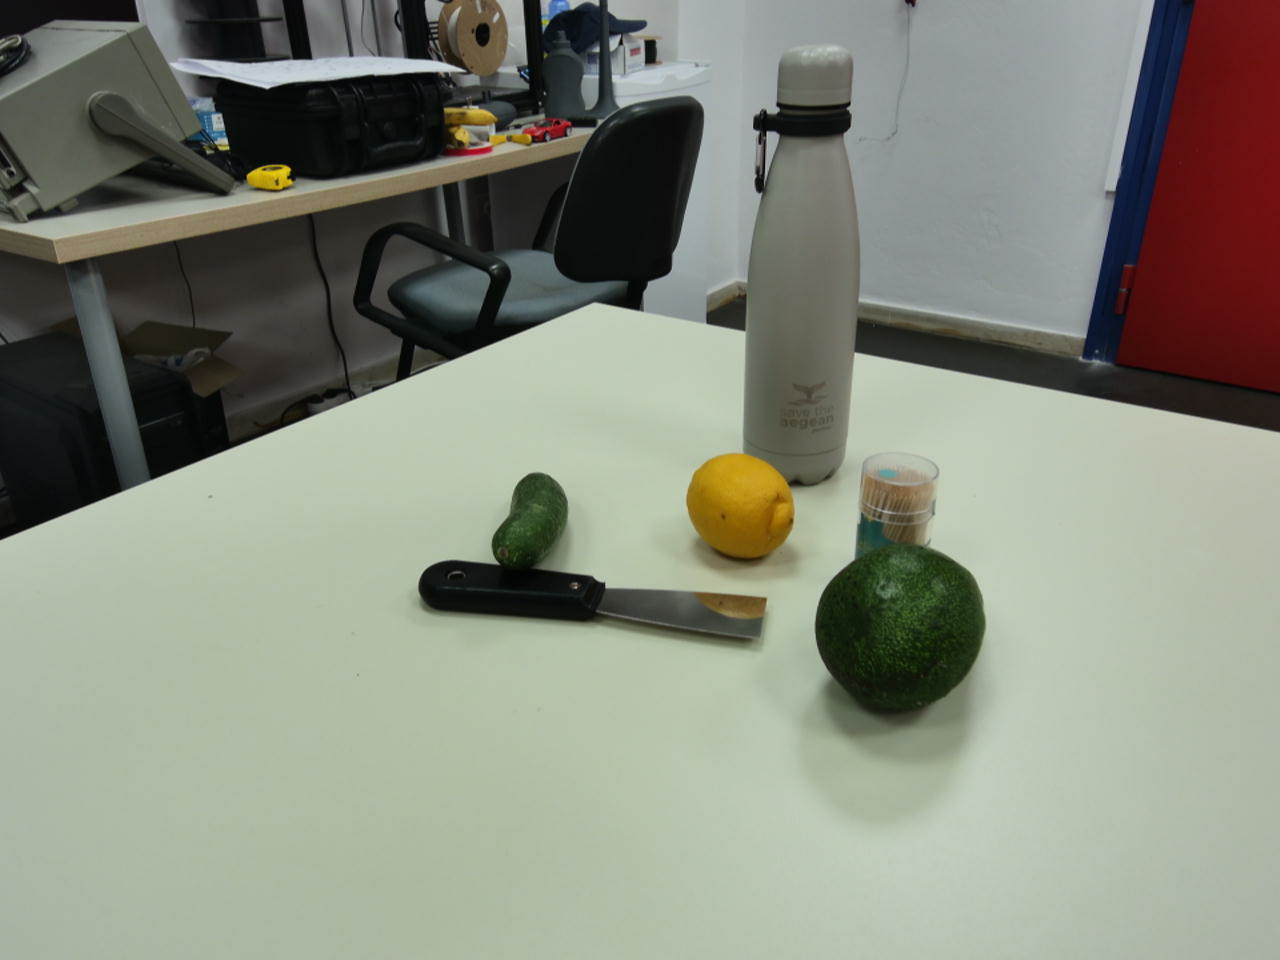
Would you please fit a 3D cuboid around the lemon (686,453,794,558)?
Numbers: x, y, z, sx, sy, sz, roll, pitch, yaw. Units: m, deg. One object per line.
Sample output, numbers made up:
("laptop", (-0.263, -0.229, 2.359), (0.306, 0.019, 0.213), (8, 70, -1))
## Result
("lemon", (0.059, 0.016, 0.591), (0.061, 0.059, 0.067), (-5, 25, -11))
